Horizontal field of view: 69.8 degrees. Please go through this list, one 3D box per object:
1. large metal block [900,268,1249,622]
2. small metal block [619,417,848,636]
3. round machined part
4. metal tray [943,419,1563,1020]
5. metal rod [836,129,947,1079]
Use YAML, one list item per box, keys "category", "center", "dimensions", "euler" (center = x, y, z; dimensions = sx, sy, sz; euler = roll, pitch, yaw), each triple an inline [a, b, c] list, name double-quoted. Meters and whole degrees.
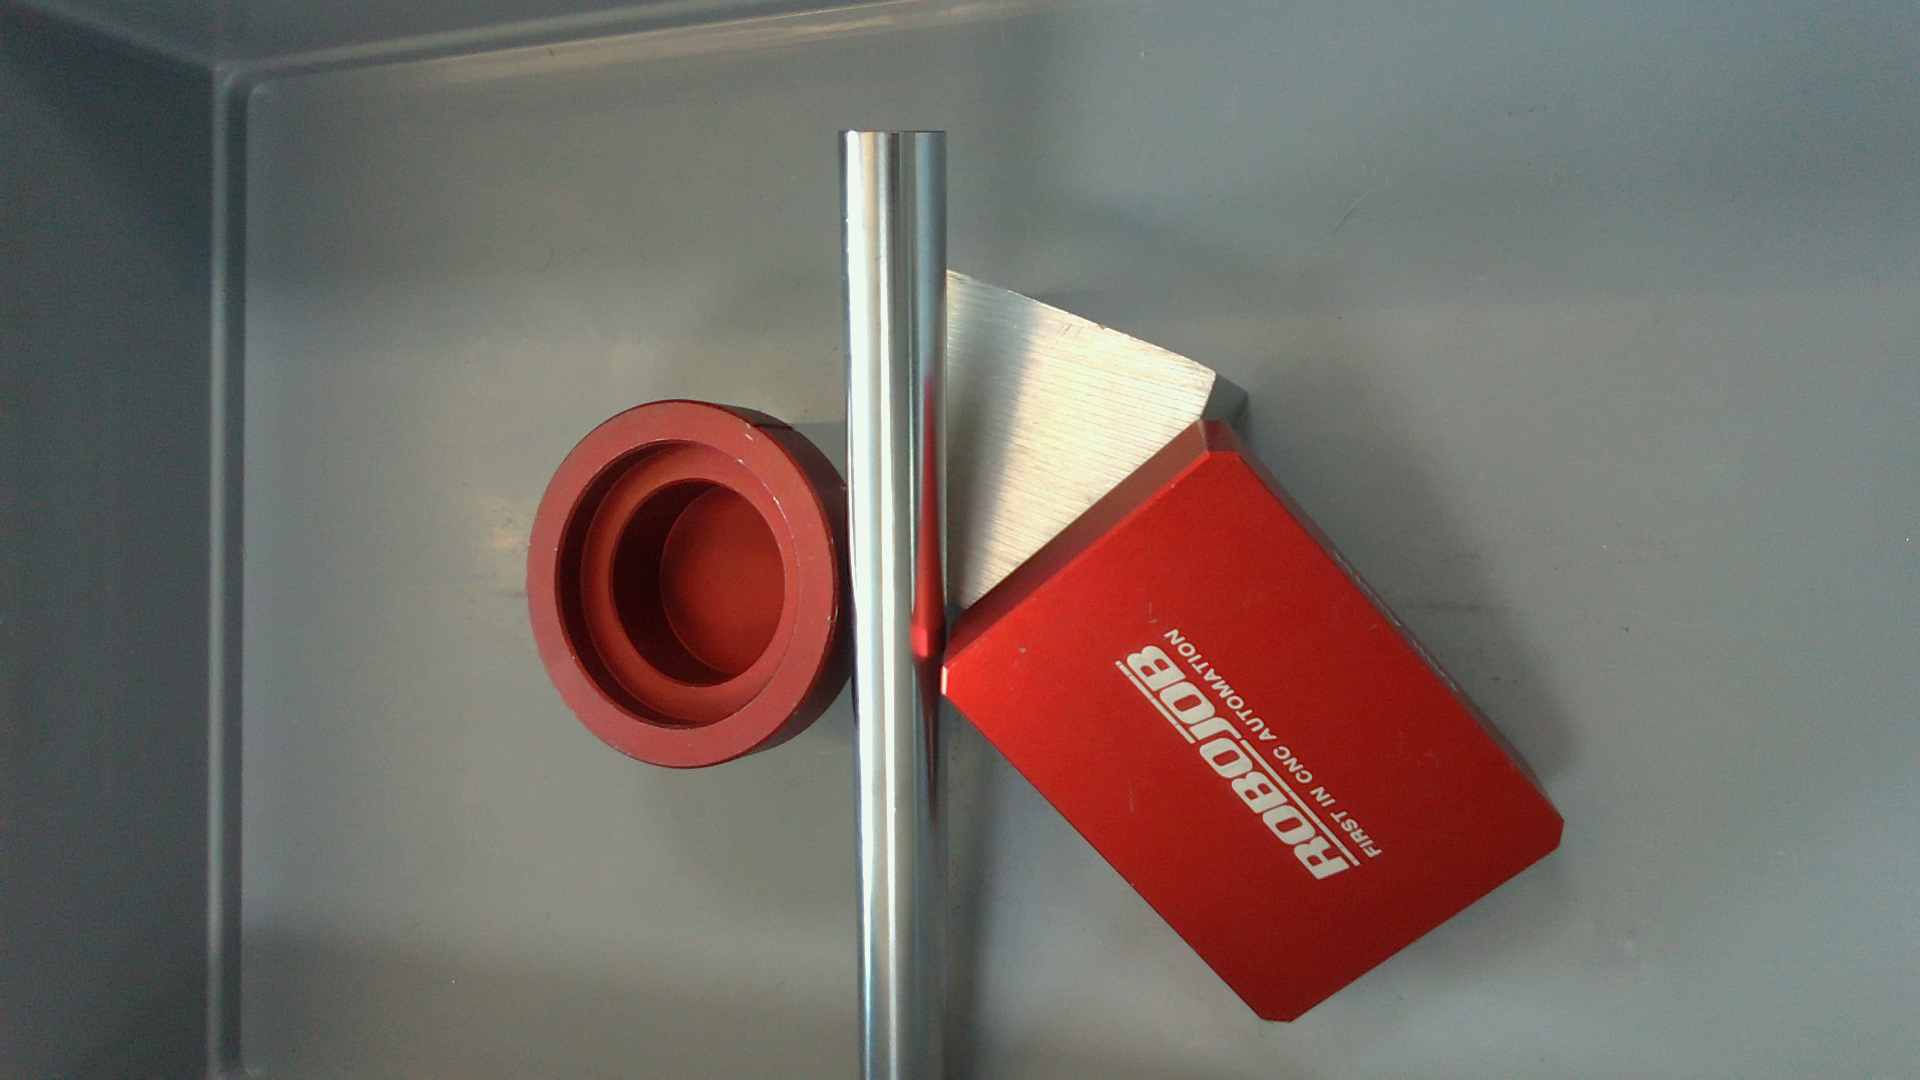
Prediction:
- category: "large metal block"
  center: [0.022, -0.020, 0.374]
  dimensions: [0.080, 0.050, 0.080]
  euler: [24, 98, 18]
- category: "small metal block"
  center: [-0.069, -0.004, 0.420]
  dimensions: [0.050, 0.025, 0.050]
  euler: [-24, 82, 18]
- category: "round machined part"
  center: [-0.068, 0.012, 0.381]
  dimensions: [0.098, 0.042, 0.098]
  euler: [0, 91, 23]
- category: "metal tray"
  center: [0.071, 0.047, 0.340]
  dimensions: [0.090, 0.030, 0.130]
  euler: [-40, 102, 16]
- category: "metal rod"
  center: [-0.016, 0.049, 0.358]
  dimensions: [0.025, 0.025, 0.300]
  euler: [6, 108, 20]
